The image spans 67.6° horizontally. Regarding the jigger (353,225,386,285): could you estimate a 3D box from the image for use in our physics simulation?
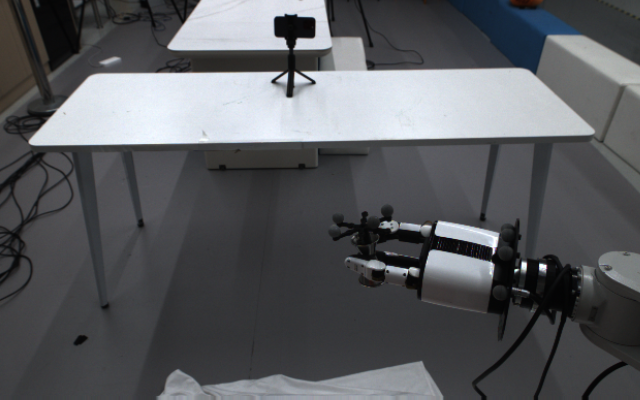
[{"bbox_3d":[0.070,0.082,0.683,0.043,0.071,0.043,-11,24,5],"label":"jigger"}]
